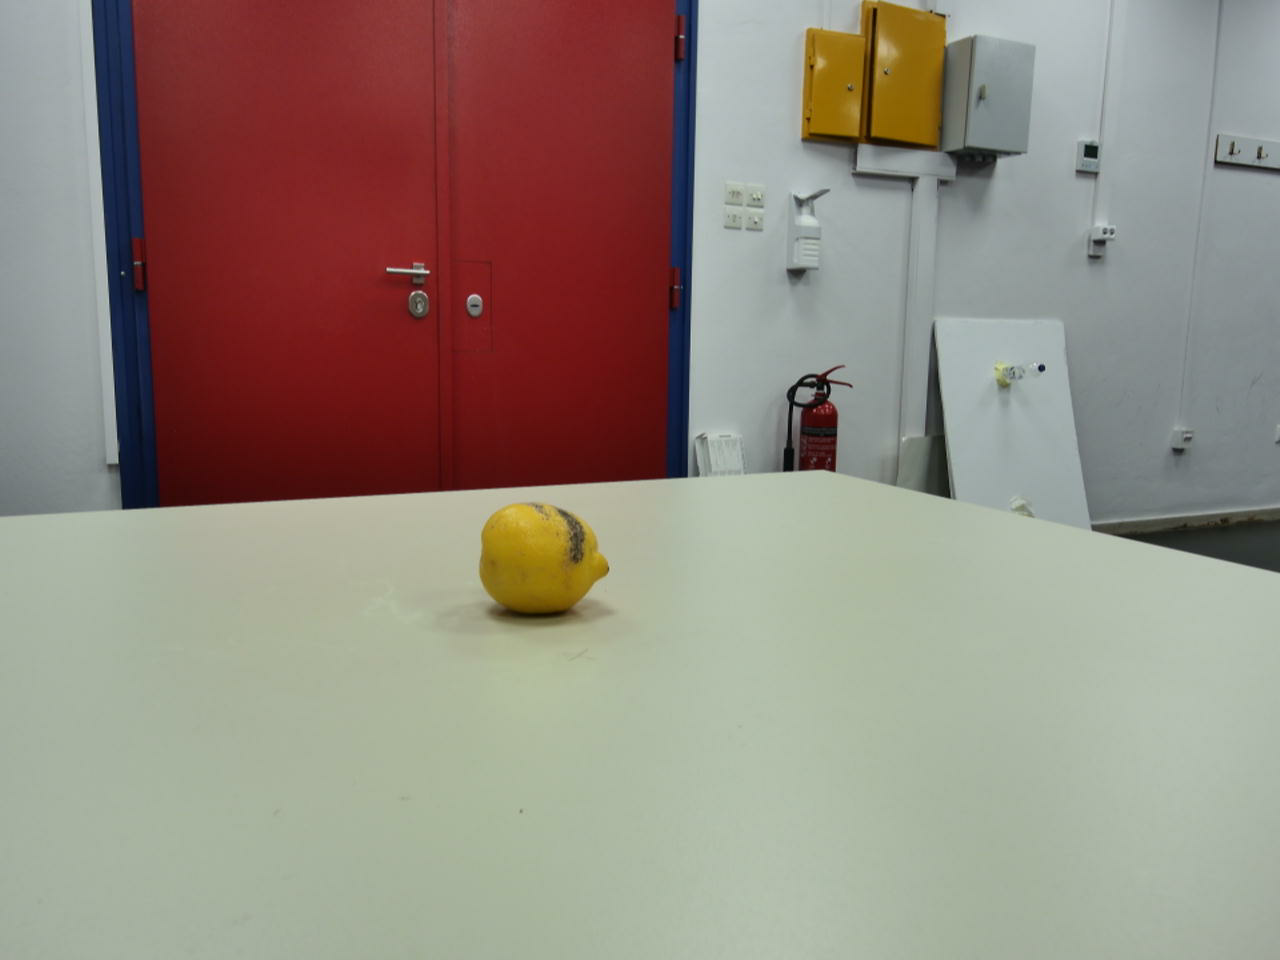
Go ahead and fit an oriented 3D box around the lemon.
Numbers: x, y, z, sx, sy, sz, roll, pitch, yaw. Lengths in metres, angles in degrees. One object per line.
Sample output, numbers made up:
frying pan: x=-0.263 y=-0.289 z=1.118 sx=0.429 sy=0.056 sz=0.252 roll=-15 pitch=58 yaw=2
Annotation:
lemon: x=-0.052 y=0.040 z=0.510 sx=0.061 sy=0.056 sz=0.058 roll=-4 pitch=8 yaw=-33
